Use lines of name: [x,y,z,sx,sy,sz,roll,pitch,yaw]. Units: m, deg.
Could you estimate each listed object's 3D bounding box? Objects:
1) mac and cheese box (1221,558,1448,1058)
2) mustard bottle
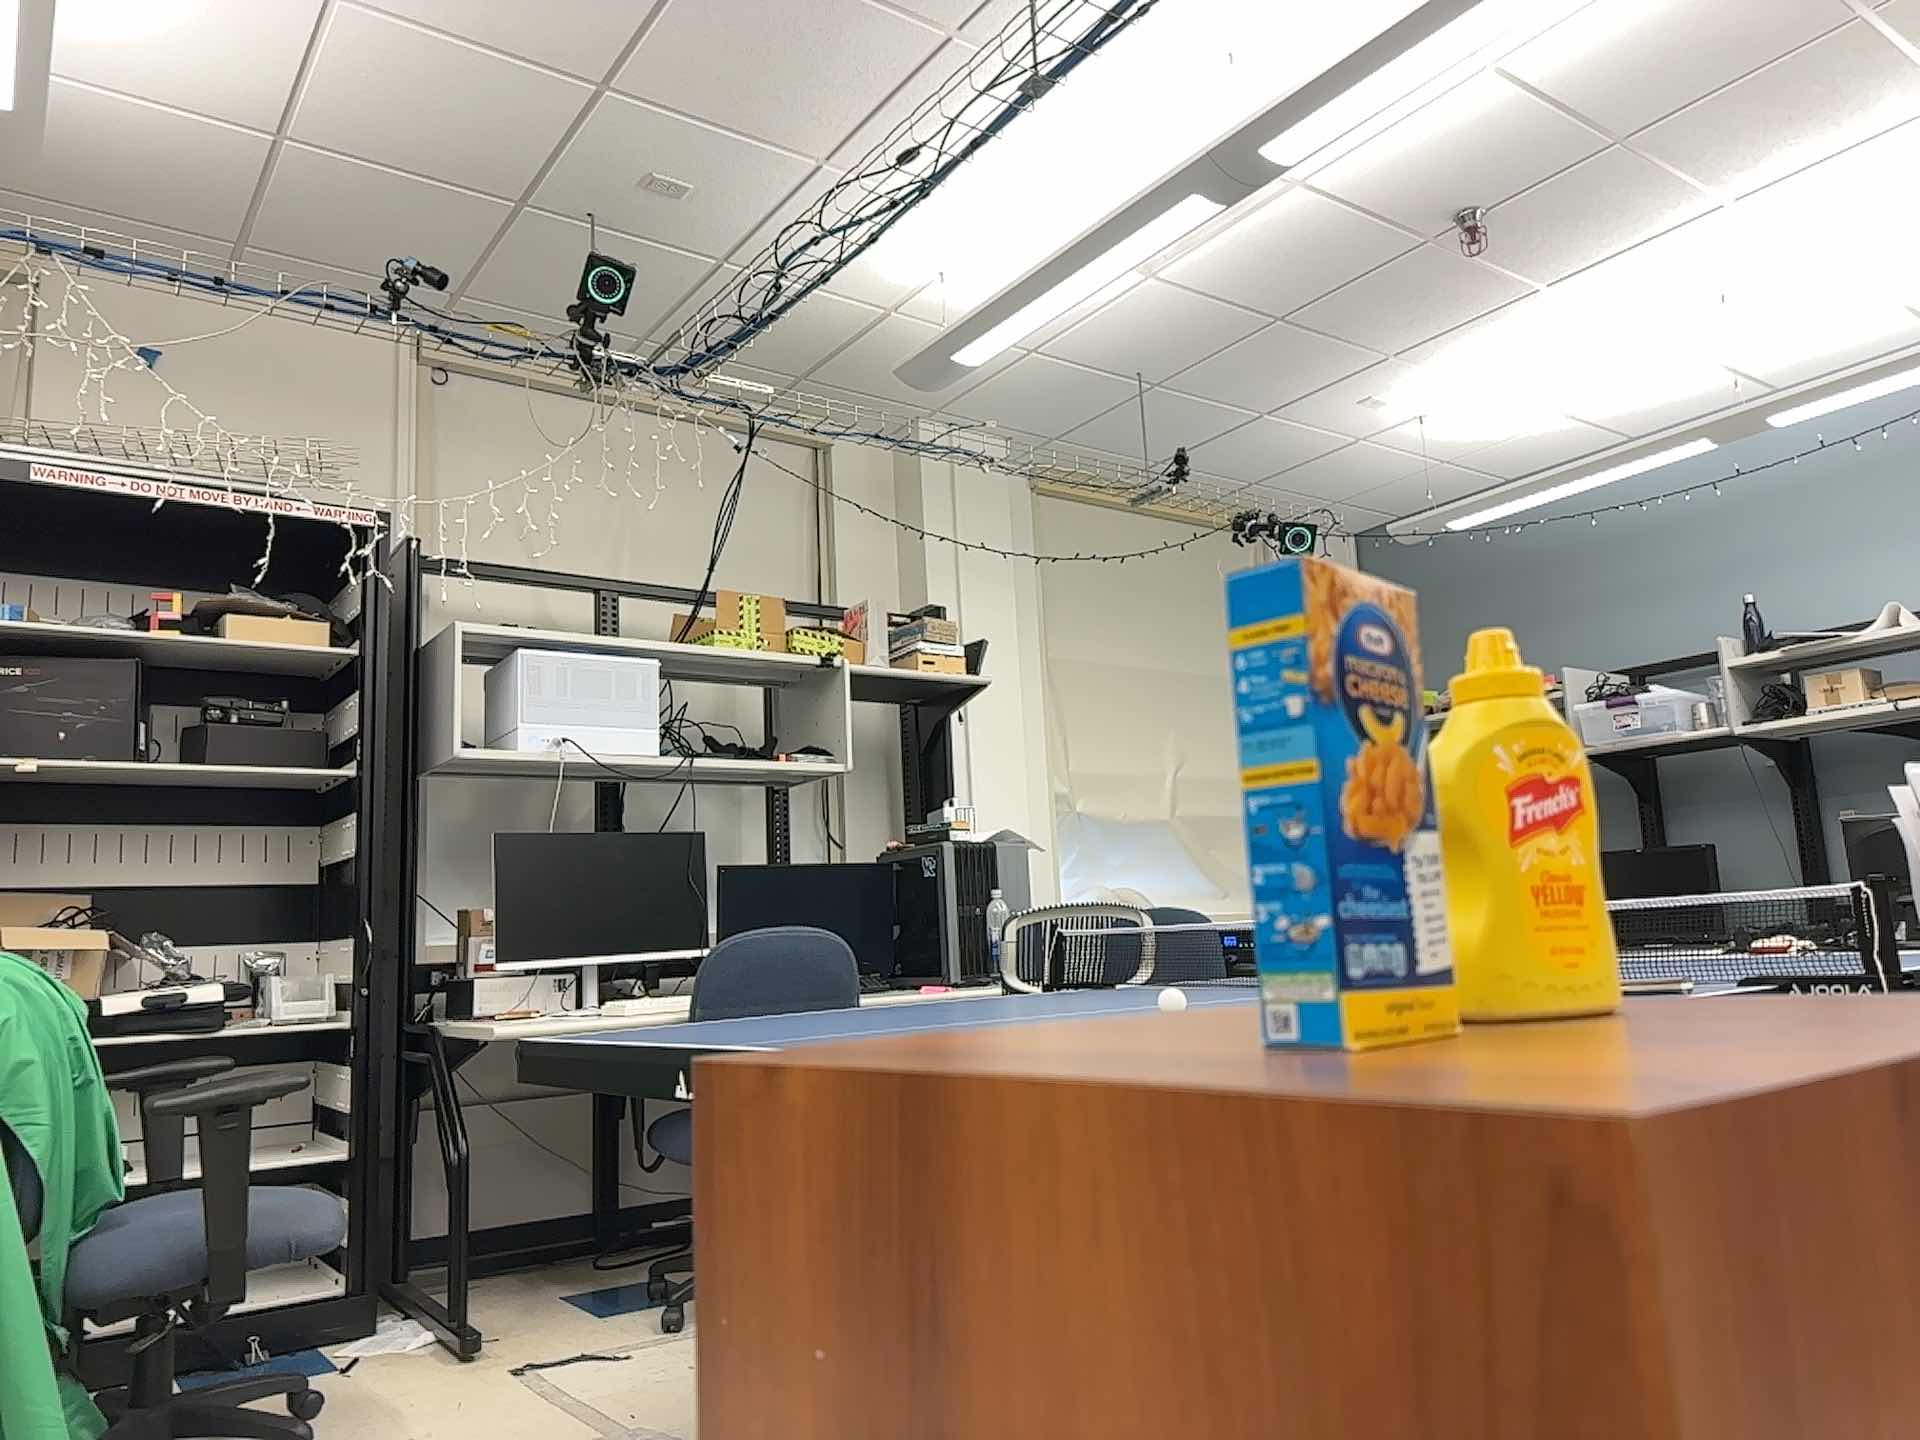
mac and cheese box: [0.148,0.035,0.530,0.088,0.181,0.035,7,-12,-42]
mustard bottle: [0.254,0.048,0.625,0.092,0.184,0.054,1,-9,-18]
